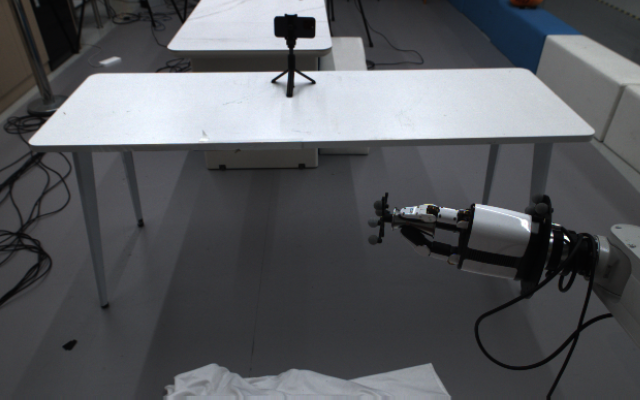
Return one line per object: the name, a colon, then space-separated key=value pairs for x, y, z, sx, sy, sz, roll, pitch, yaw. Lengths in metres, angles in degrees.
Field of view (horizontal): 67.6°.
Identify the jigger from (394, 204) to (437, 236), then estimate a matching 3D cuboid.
jigger: x=0.159 y=0.029 z=0.780 sx=0.071 sy=0.043 sz=0.043 roll=8 pitch=35 yaw=14
